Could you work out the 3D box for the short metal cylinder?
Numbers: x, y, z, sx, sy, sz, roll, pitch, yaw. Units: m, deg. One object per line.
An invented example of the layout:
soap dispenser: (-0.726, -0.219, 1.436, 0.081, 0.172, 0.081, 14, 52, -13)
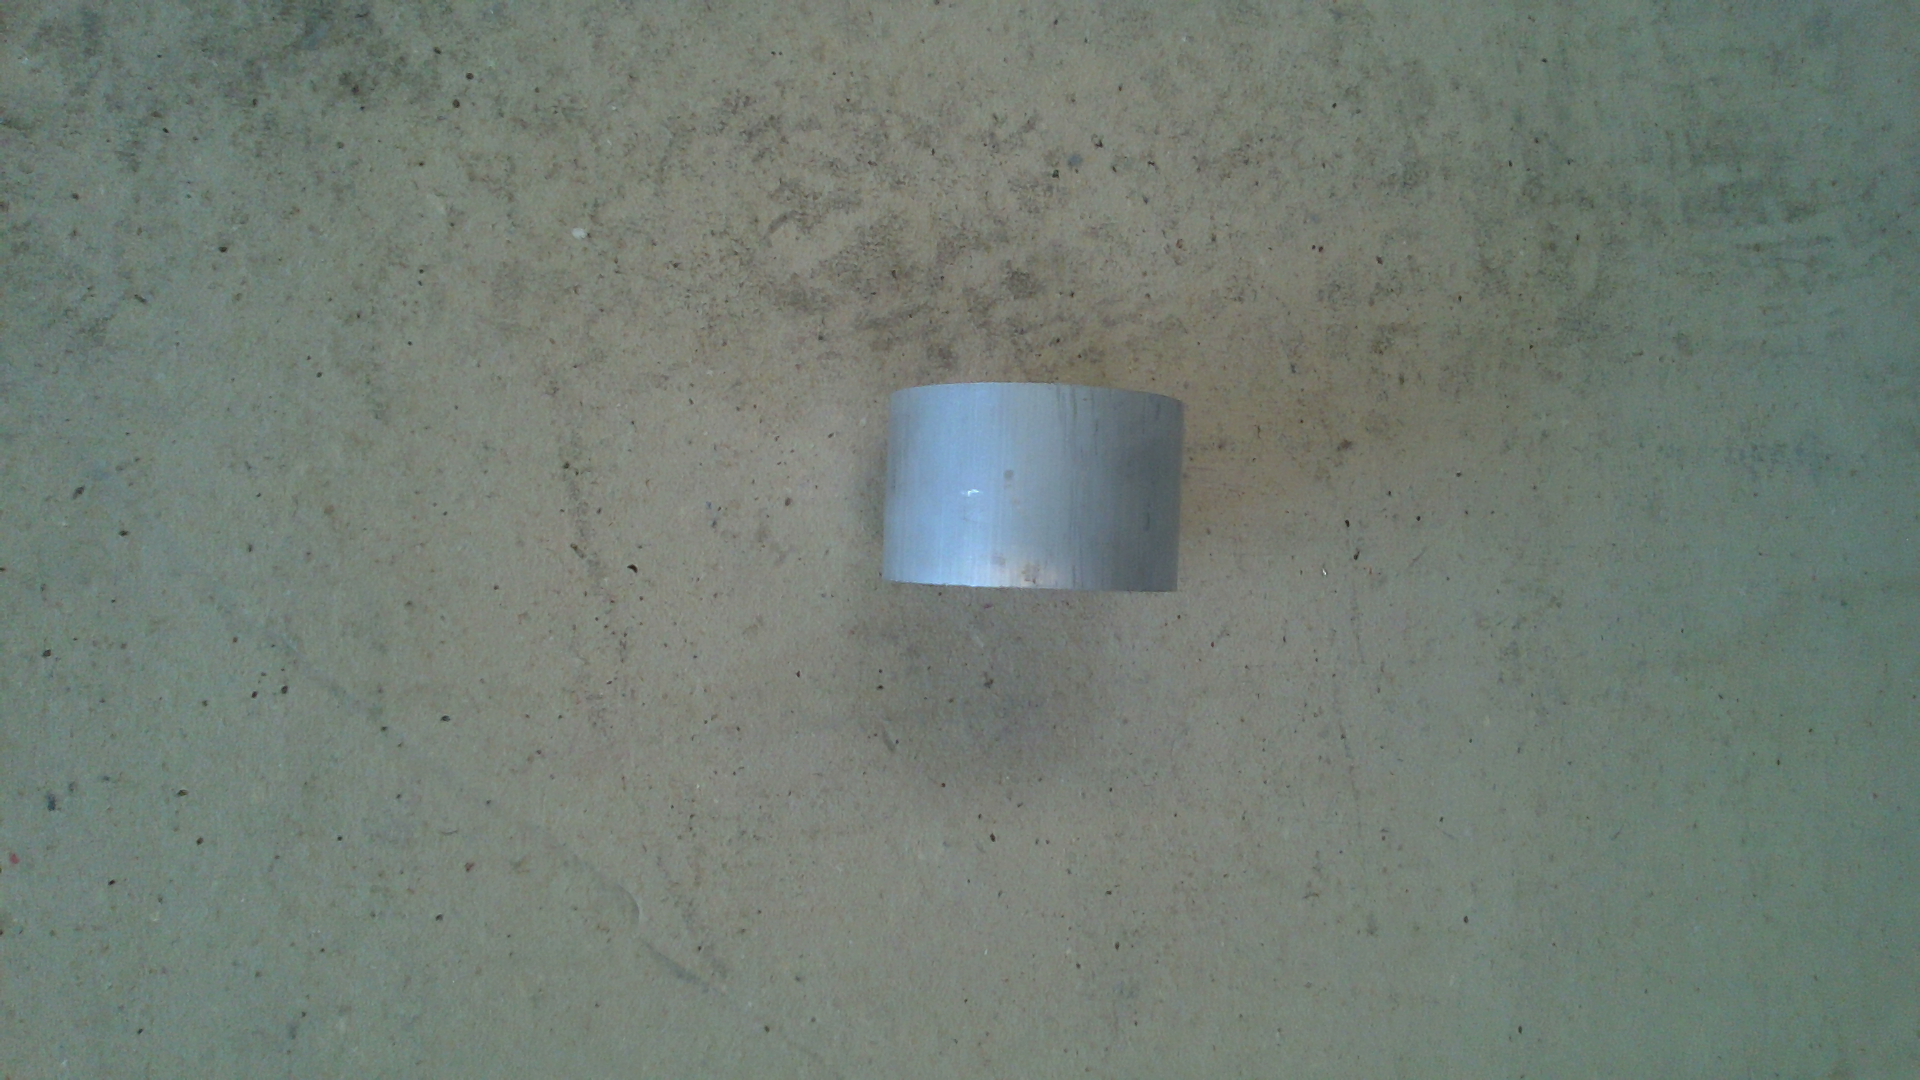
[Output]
short metal cylinder: (0.019, -0.013, 0.372, 0.080, 0.080, 0.050, 2, 89, -20)
